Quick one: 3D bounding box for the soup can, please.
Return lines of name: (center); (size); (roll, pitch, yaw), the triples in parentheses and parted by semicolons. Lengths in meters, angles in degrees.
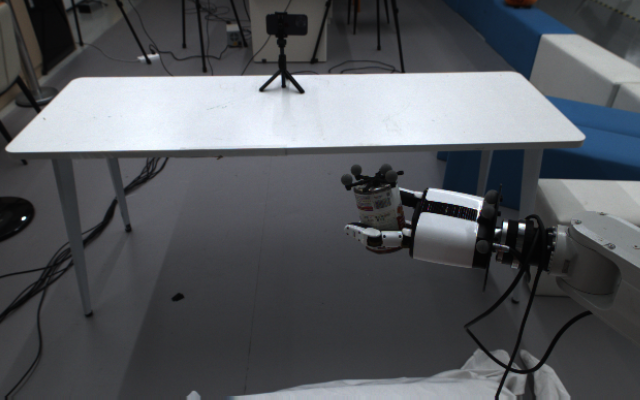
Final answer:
soup can: (0.094, 0.021, 0.727); (0.067, 0.101, 0.067); (-13, 20, 5)
